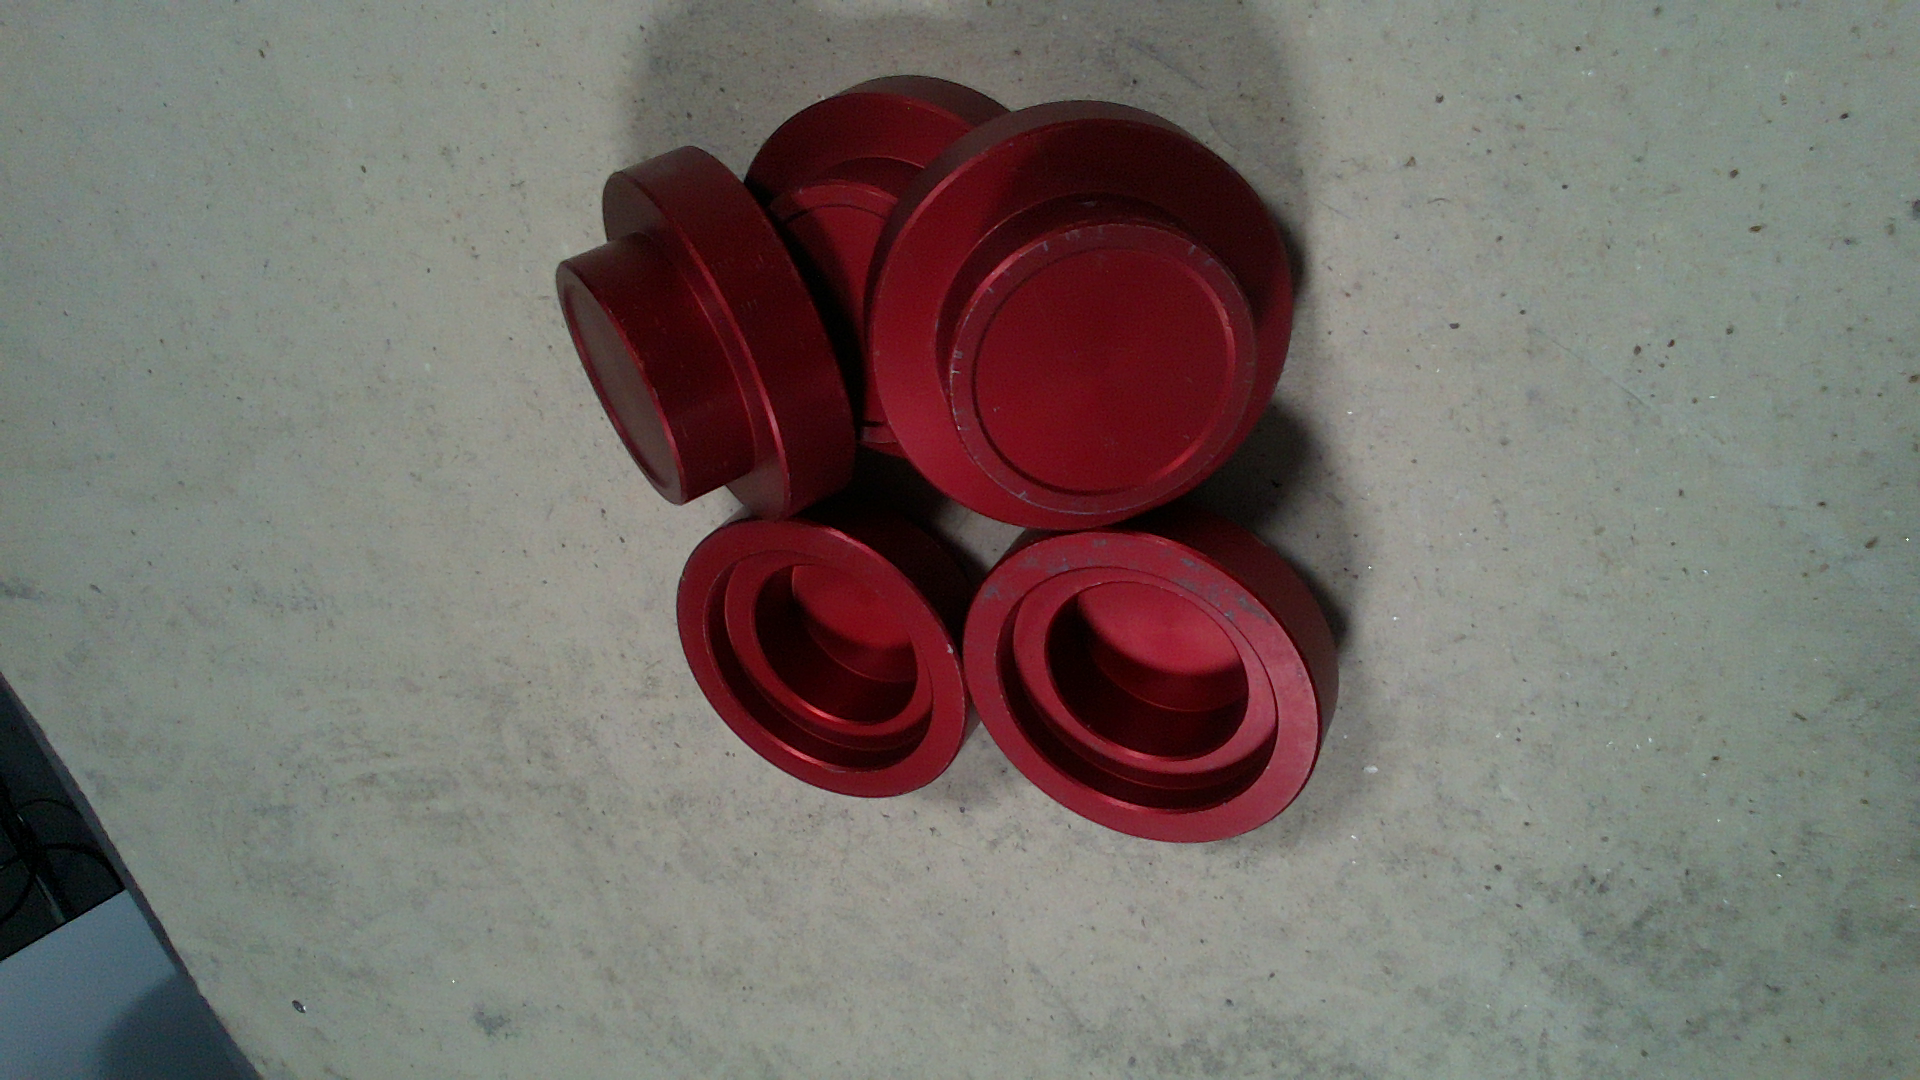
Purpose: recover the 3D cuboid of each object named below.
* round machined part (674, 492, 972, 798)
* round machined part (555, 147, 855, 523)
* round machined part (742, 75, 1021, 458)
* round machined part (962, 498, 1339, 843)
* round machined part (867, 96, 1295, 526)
[{"bbox_3d":[-0.034,0.026,0.417,0.098,0.042,0.098,13,124,21],"label":"round machined part"},{"bbox_3d":[-0.071,-0.048,0.360,0.098,0.042,0.098,48,155,31],"label":"round machined part"},{"bbox_3d":[-0.018,-0.064,0.351,0.098,0.042,0.098,13,124,21],"label":"round machined part"},{"bbox_3d":[0.053,0.030,0.372,0.098,0.042,0.098,13,124,21],"label":"round machined part"},{"bbox_3d":[0.028,-0.046,0.310,0.098,0.042,0.098,-4,120,-6],"label":"round machined part"}]
